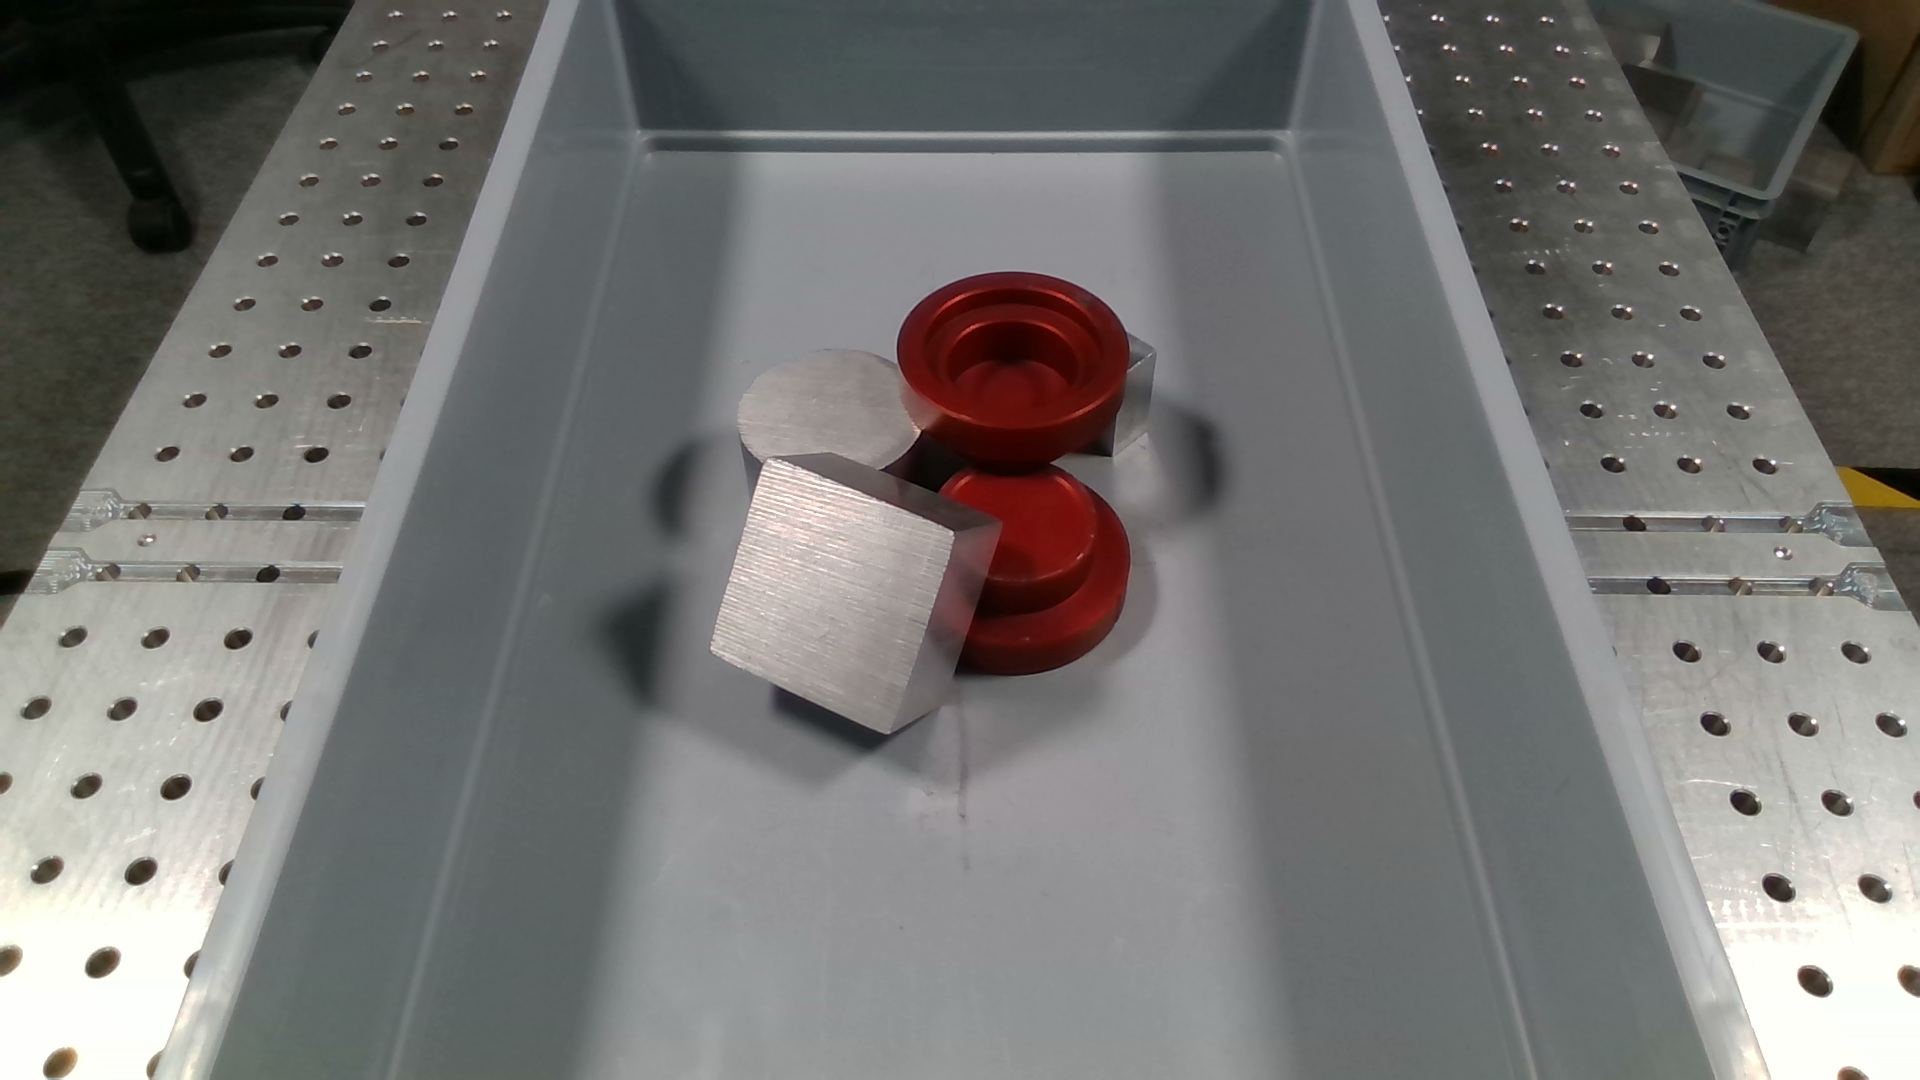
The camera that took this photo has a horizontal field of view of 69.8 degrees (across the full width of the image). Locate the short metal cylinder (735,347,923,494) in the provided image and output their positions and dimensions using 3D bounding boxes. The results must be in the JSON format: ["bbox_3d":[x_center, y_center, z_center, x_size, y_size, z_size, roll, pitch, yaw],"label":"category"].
[{"bbox_3d":[-0.055,-0.038,0.601,0.080,0.050,0.080,0,50,0],"label":"short metal cylinder"}]

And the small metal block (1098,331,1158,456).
[{"bbox_3d":[0.061,-0.075,0.631,0.050,0.050,0.025,36,59,27],"label":"small metal block"}]

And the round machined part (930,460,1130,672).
[{"bbox_3d":[0.021,0.003,0.570,0.098,0.042,0.098,0,50,0],"label":"round machined part"}]

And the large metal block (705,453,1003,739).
[{"bbox_3d":[-0.040,0.018,0.526,0.080,0.080,0.050,23,13,17],"label":"large metal block"}]

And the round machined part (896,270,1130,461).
[{"bbox_3d":[0.022,-0.069,0.594,0.098,0.042,0.098,0,50,0],"label":"round machined part"}]
